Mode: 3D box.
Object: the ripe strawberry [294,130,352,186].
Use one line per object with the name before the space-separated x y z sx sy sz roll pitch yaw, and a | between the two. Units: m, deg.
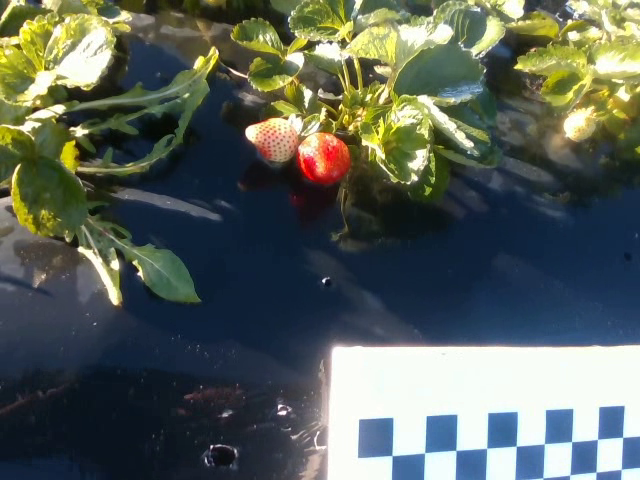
ripe strawberry | 0.004 -0.053 0.399 0.040 0.038 0.056 -14 7 8
